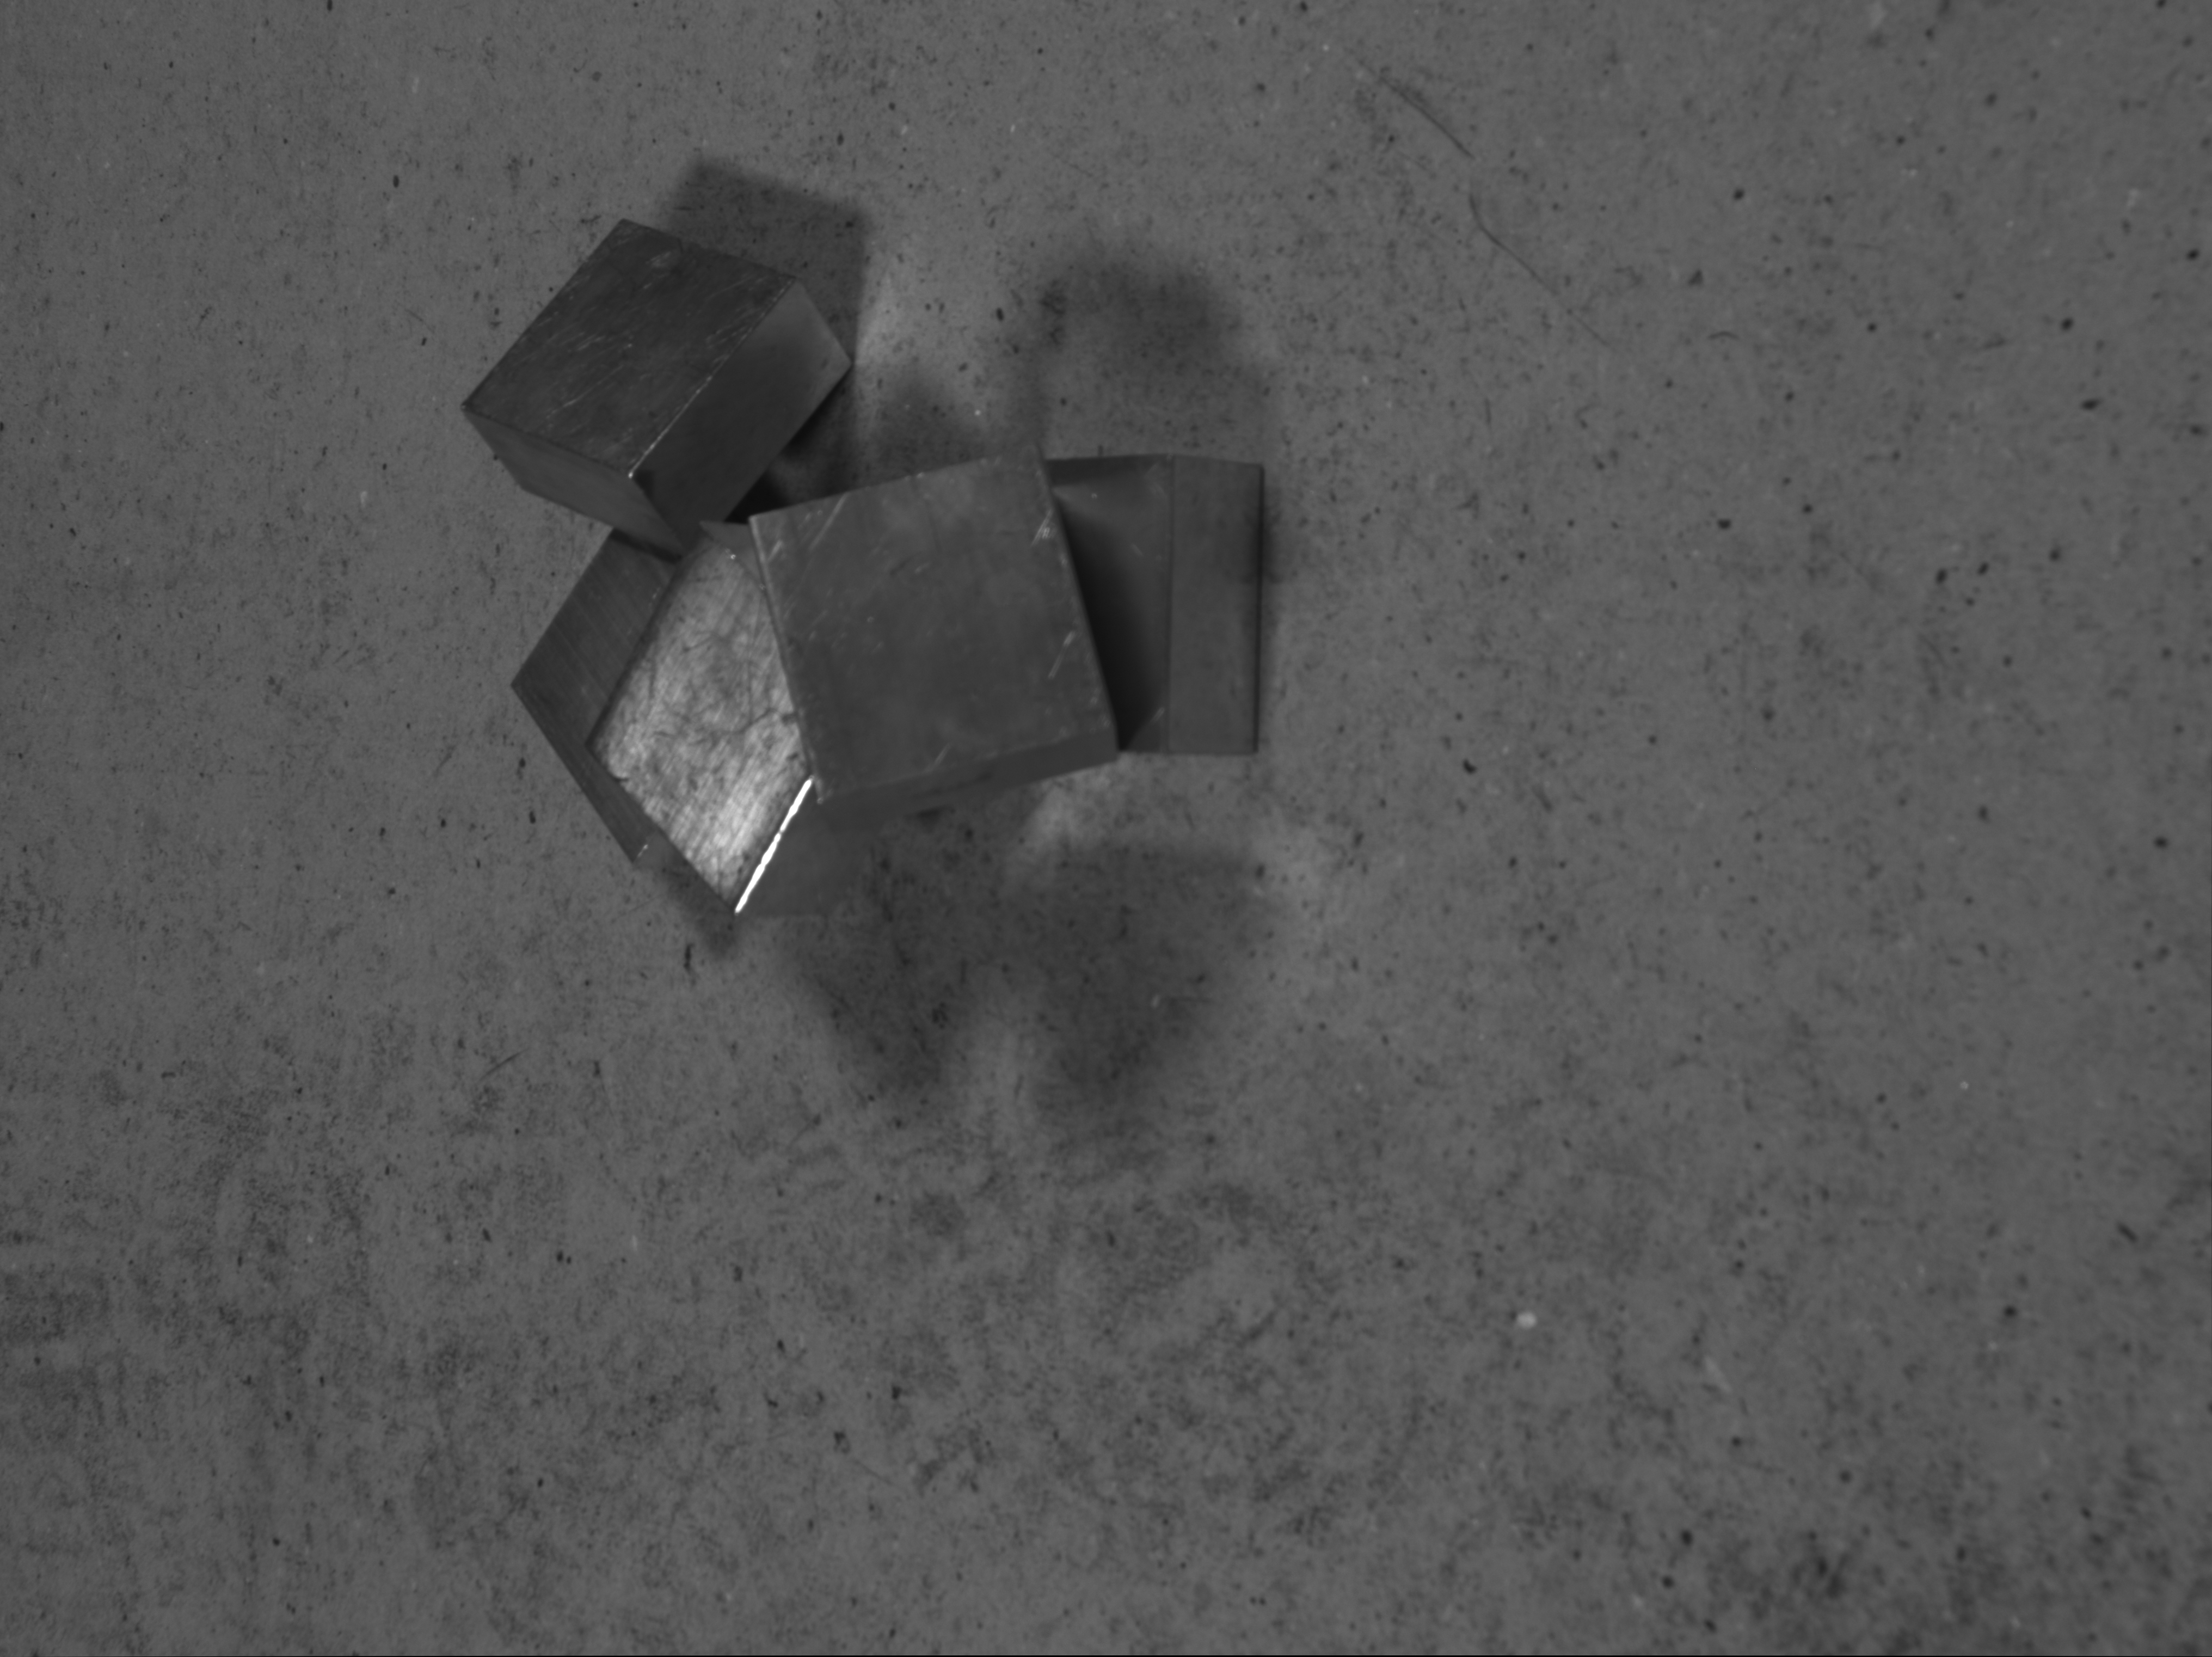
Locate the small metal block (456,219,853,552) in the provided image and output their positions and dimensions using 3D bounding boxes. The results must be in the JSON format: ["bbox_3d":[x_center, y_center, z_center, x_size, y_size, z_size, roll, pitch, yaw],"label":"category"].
[{"bbox_3d":[-0.085,-0.083,0.692,0.050,0.025,0.050,24,68,37],"label":"small metal block"}]

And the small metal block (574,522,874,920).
[{"bbox_3d":[-0.062,-0.019,0.653,0.050,0.025,0.050,45,116,30],"label":"small metal block"}]

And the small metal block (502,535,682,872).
[{"bbox_3d":[-0.083,-0.027,0.704,0.050,0.025,0.050,-52,60,27],"label":"small metal block"}]

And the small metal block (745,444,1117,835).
[{"bbox_3d":[-0.029,-0.031,0.612,0.050,0.025,0.050,-14,78,-2],"label":"small metal block"}]

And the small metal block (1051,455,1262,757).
[{"bbox_3d":[-0.001,-0.038,0.638,0.050,0.025,0.050,2,91,39],"label":"small metal block"}]
